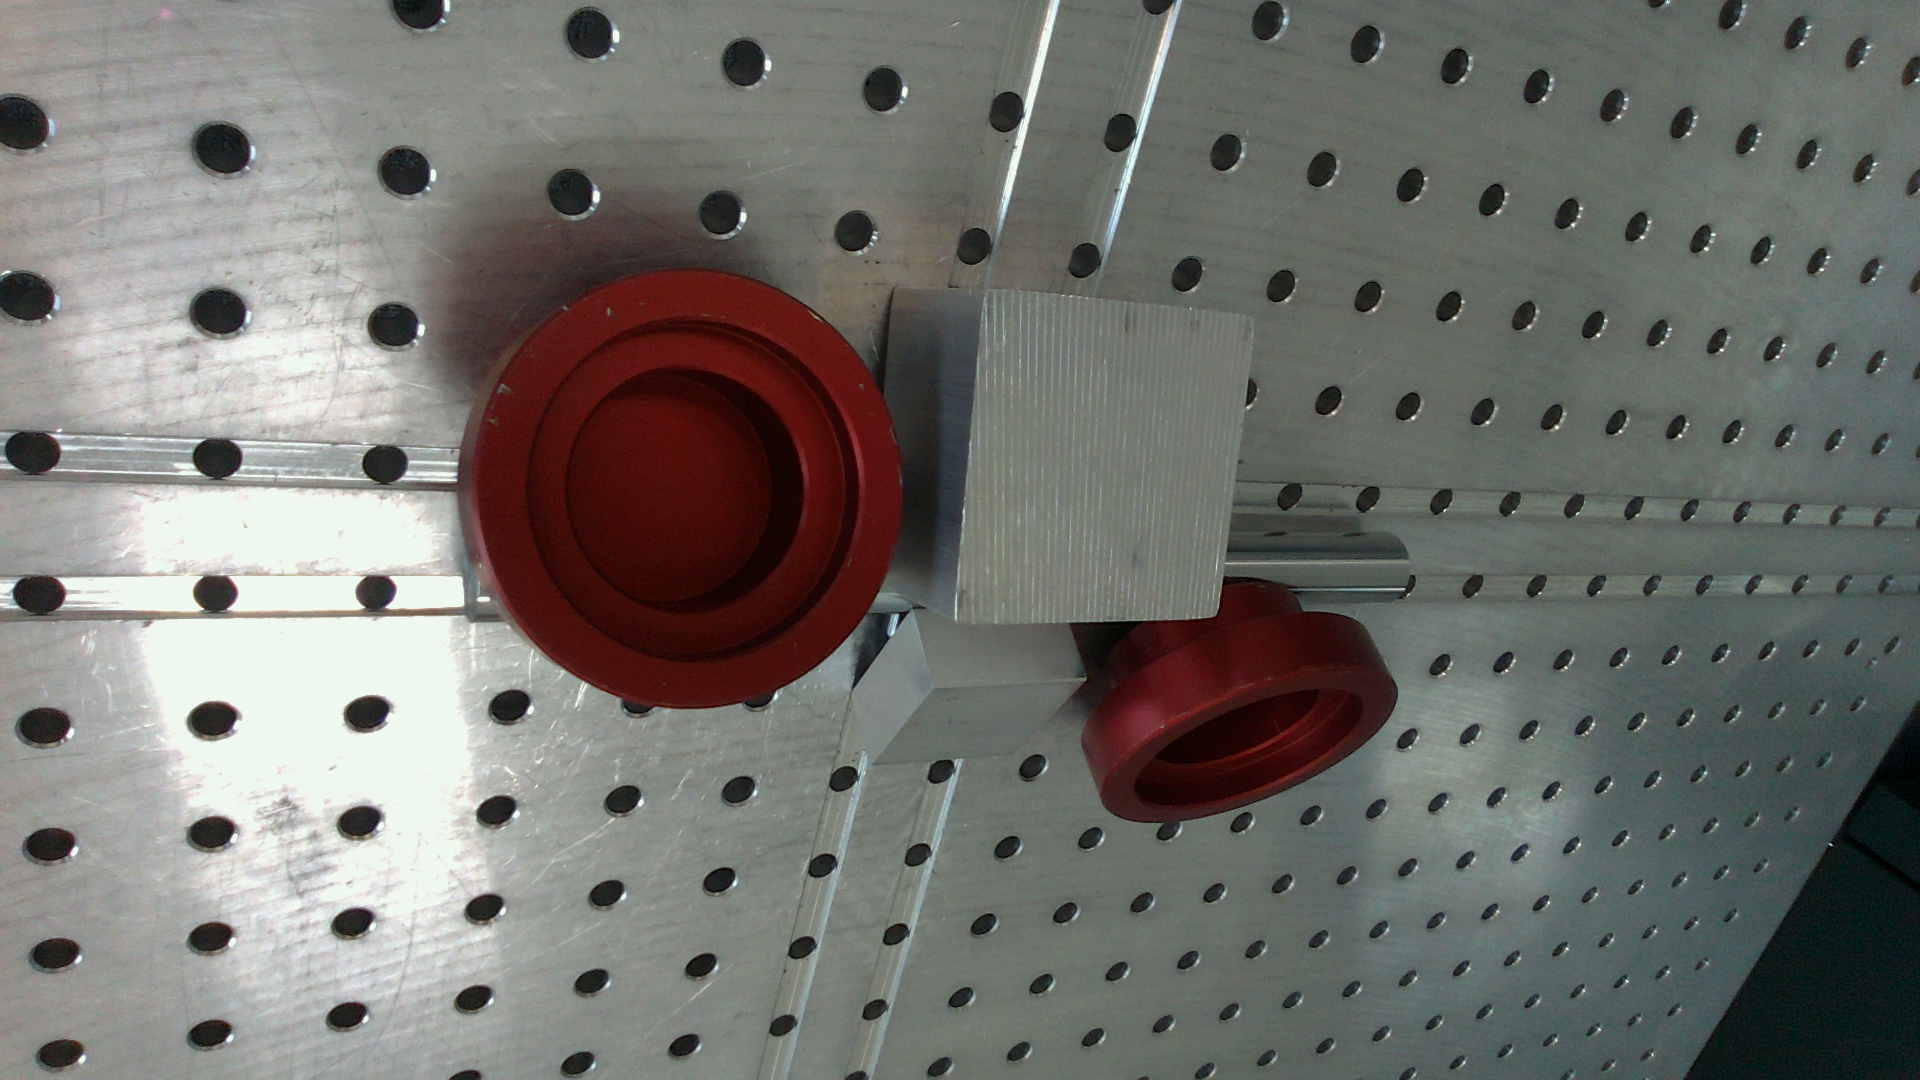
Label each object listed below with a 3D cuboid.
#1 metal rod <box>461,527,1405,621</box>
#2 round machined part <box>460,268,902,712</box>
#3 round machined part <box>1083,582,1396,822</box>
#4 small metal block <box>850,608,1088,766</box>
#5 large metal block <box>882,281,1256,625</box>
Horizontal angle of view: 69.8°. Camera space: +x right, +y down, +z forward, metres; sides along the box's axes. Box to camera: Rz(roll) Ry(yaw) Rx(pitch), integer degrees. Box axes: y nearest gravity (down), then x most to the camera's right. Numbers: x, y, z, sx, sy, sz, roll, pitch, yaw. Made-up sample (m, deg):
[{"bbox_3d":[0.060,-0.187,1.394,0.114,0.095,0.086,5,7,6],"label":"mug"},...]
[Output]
[{"bbox_3d":[0.013,0.008,0.405,0.301,0.025,0.025,0,118,-29],"label":"metal rod"},{"bbox_3d":[-0.066,-0.012,0.322,0.098,0.042,0.098,-1,93,-28],"label":"round machined part"},{"bbox_3d":[0.085,0.050,0.442,0.098,0.042,0.098,-14,148,-9],"label":"round machined part"},{"bbox_3d":[0.001,0.043,0.407,0.050,0.025,0.050,1,147,-29],"label":"small metal block"},{"bbox_3d":[0.025,-0.023,0.361,0.080,0.050,0.080,1,100,-29],"label":"large metal block"}]
